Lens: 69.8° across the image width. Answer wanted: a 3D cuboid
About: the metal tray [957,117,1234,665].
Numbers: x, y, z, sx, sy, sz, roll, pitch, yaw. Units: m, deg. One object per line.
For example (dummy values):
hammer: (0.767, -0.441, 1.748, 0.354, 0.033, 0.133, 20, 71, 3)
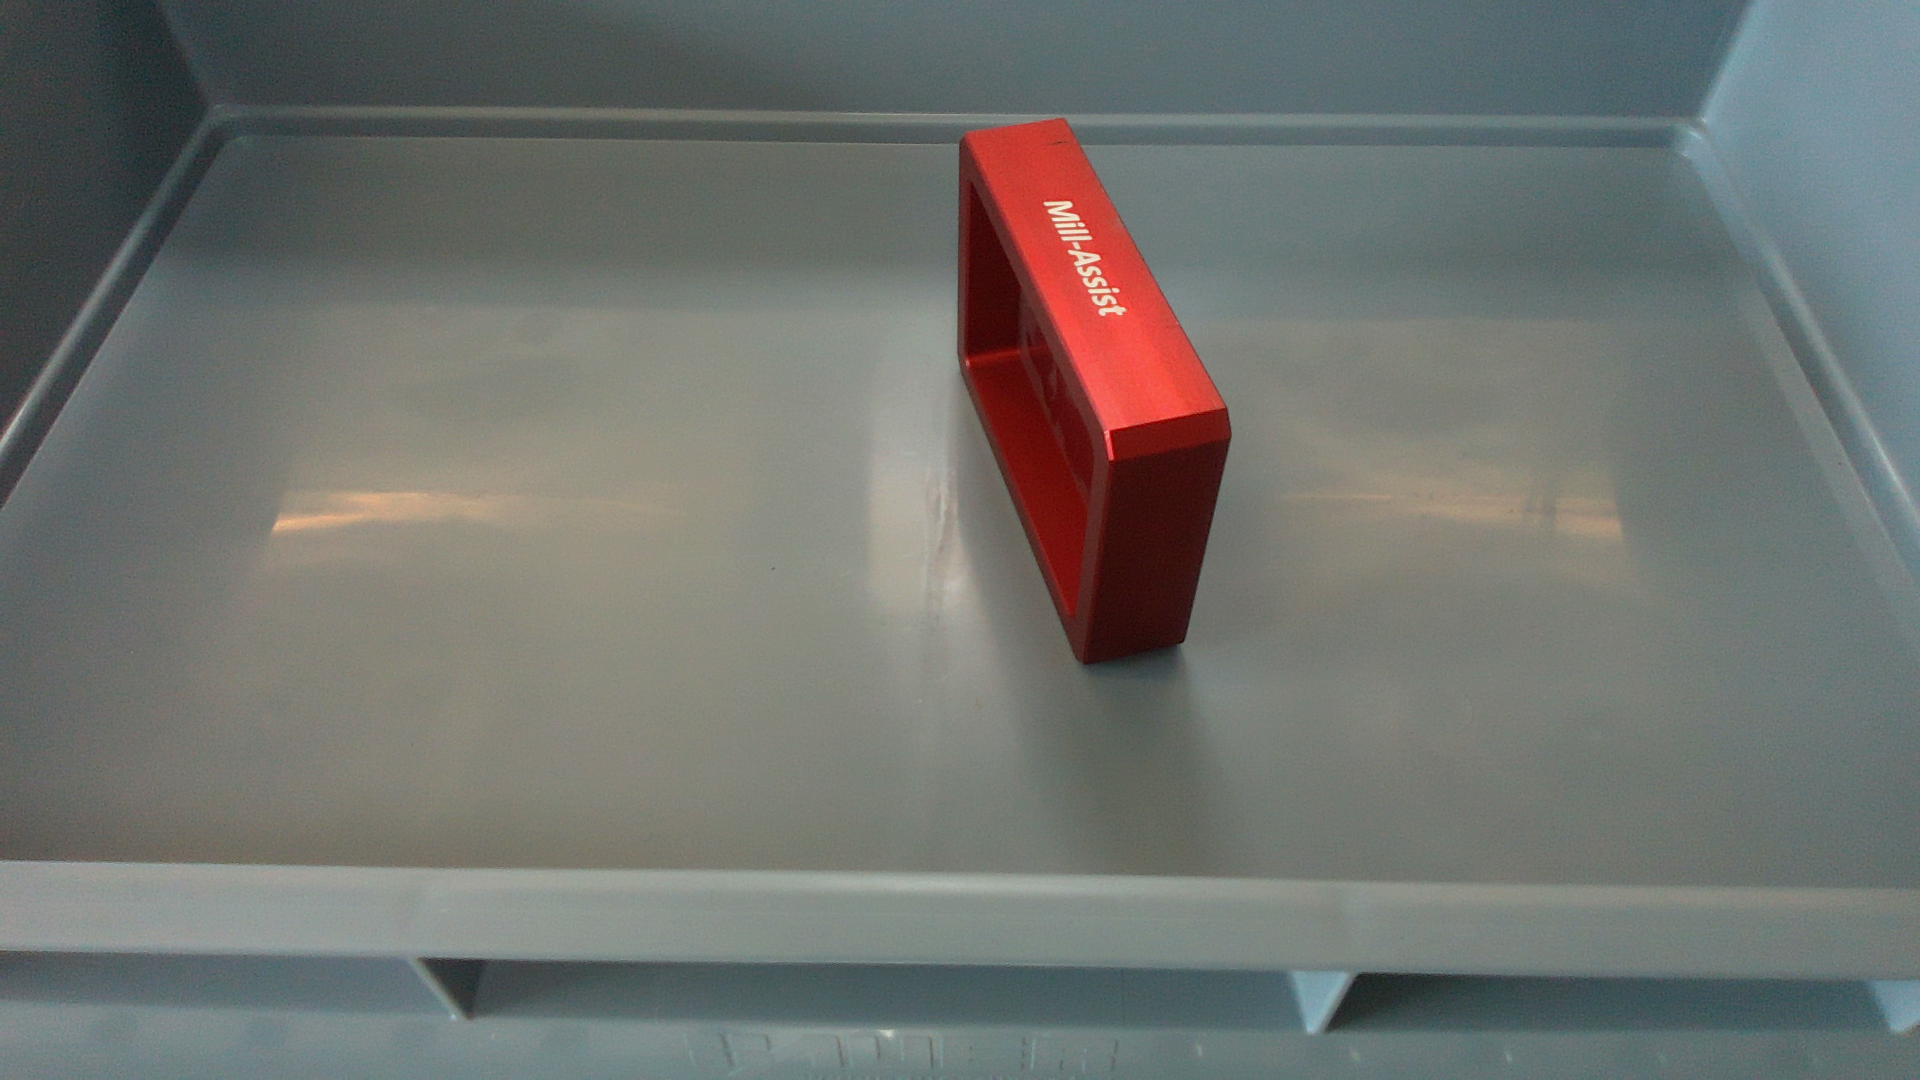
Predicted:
metal tray: (0.031, -0.043, 0.382, 0.030, 0.090, 0.130, -12, 51, -11)
